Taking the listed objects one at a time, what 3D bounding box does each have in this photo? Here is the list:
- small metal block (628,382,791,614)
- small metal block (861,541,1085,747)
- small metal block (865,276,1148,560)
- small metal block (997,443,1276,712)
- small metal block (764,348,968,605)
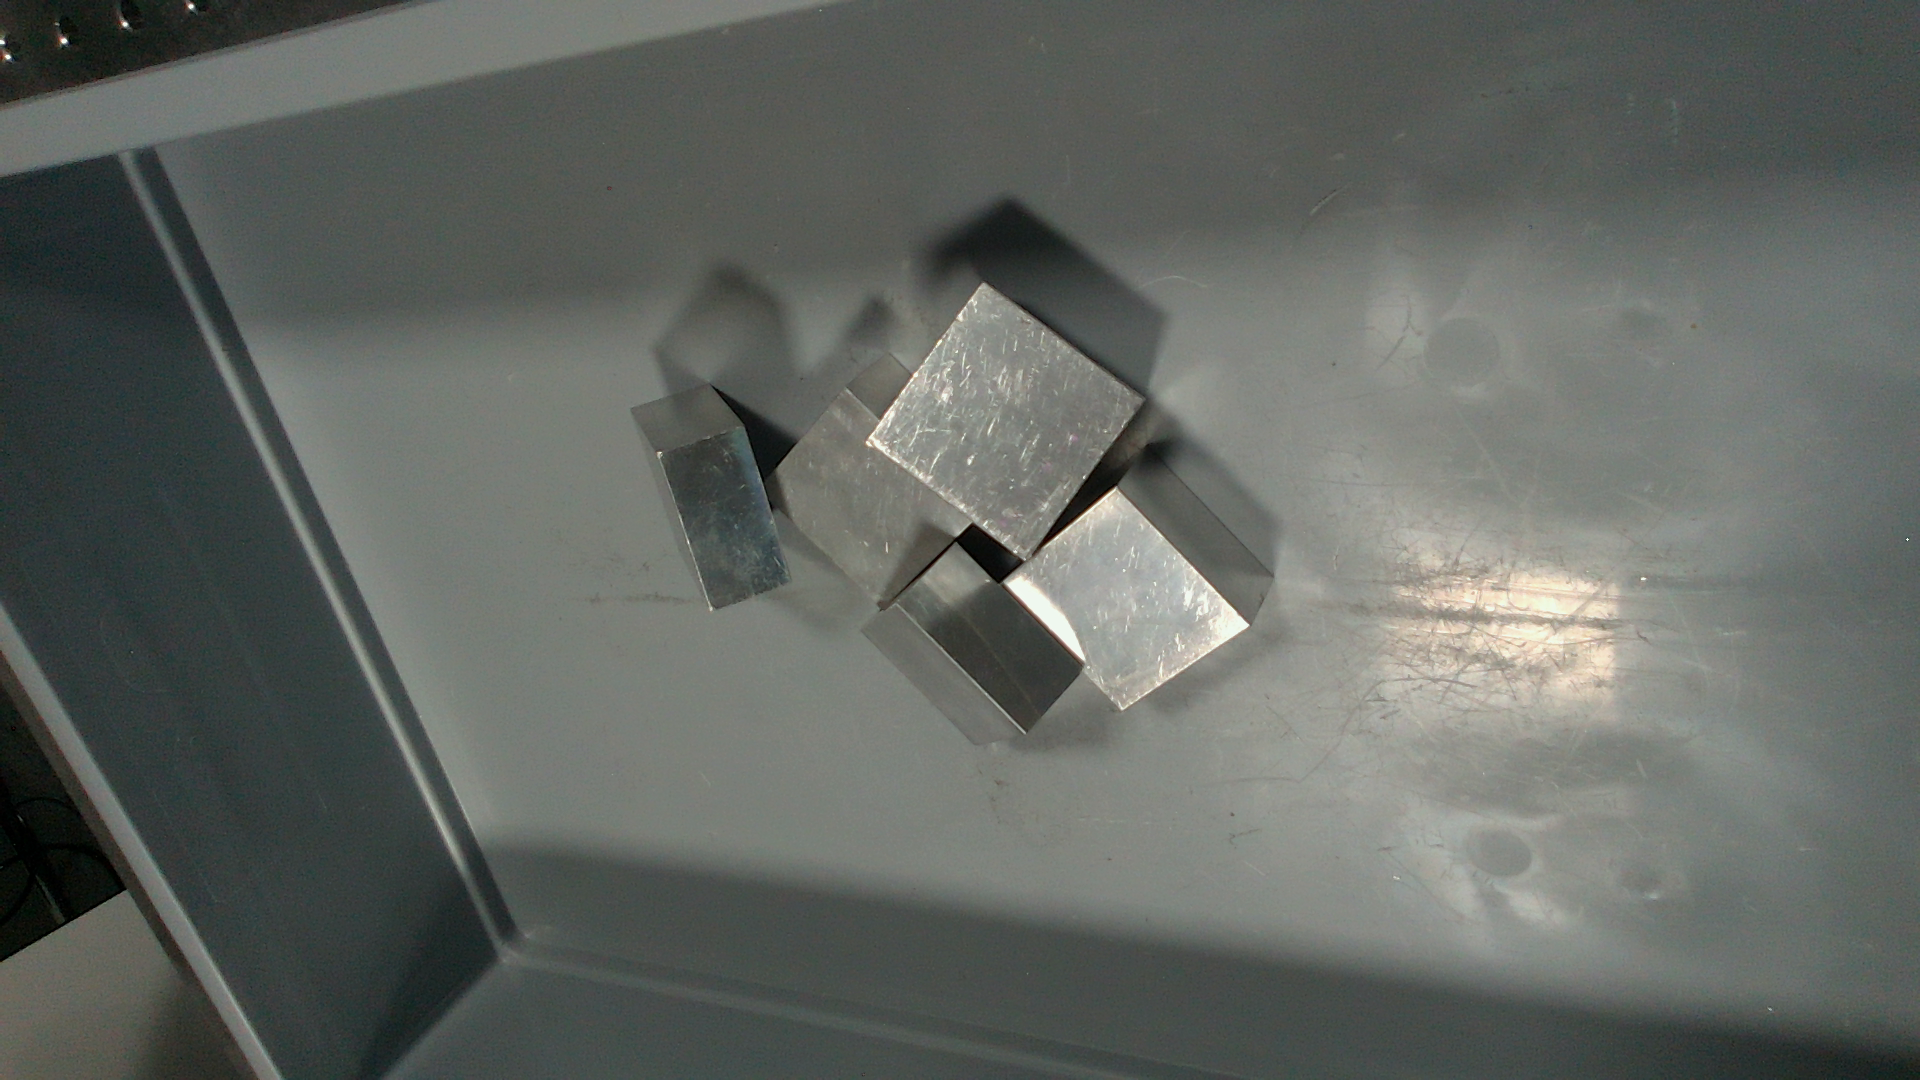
[{"bbox_3d":[-0.074,-0.014,0.405,0.050,0.025,0.050,-136,29,-61],"label":"small metal block"},{"bbox_3d":[0.002,0.031,0.395,0.050,0.025,0.050,45,161,-3],"label":"small metal block"},{"bbox_3d":[0.012,-0.030,0.351,0.050,0.025,0.050,37,94,3],"label":"small metal block"},{"bbox_3d":[0.047,0.011,0.372,0.050,0.025,0.050,45,129,-4],"label":"small metal block"},{"bbox_3d":[-0.022,-0.017,0.392,0.050,0.025,0.050,44,129,-2],"label":"small metal block"}]
